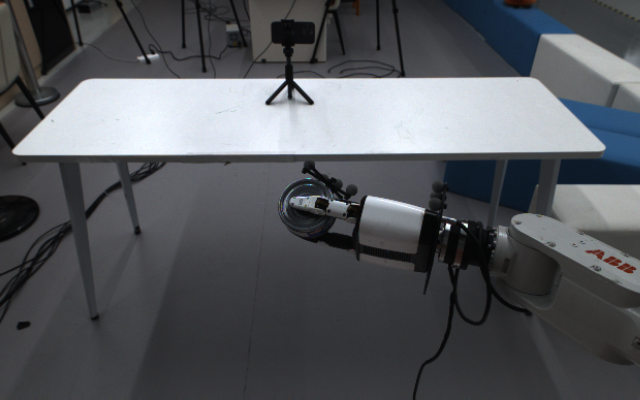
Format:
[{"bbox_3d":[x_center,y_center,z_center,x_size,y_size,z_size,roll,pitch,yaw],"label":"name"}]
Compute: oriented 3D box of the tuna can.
[{"bbox_3d":[-0.017,0.011,0.718,0.085,0.034,0.085,-4,69,10],"label":"tuna can"}]
